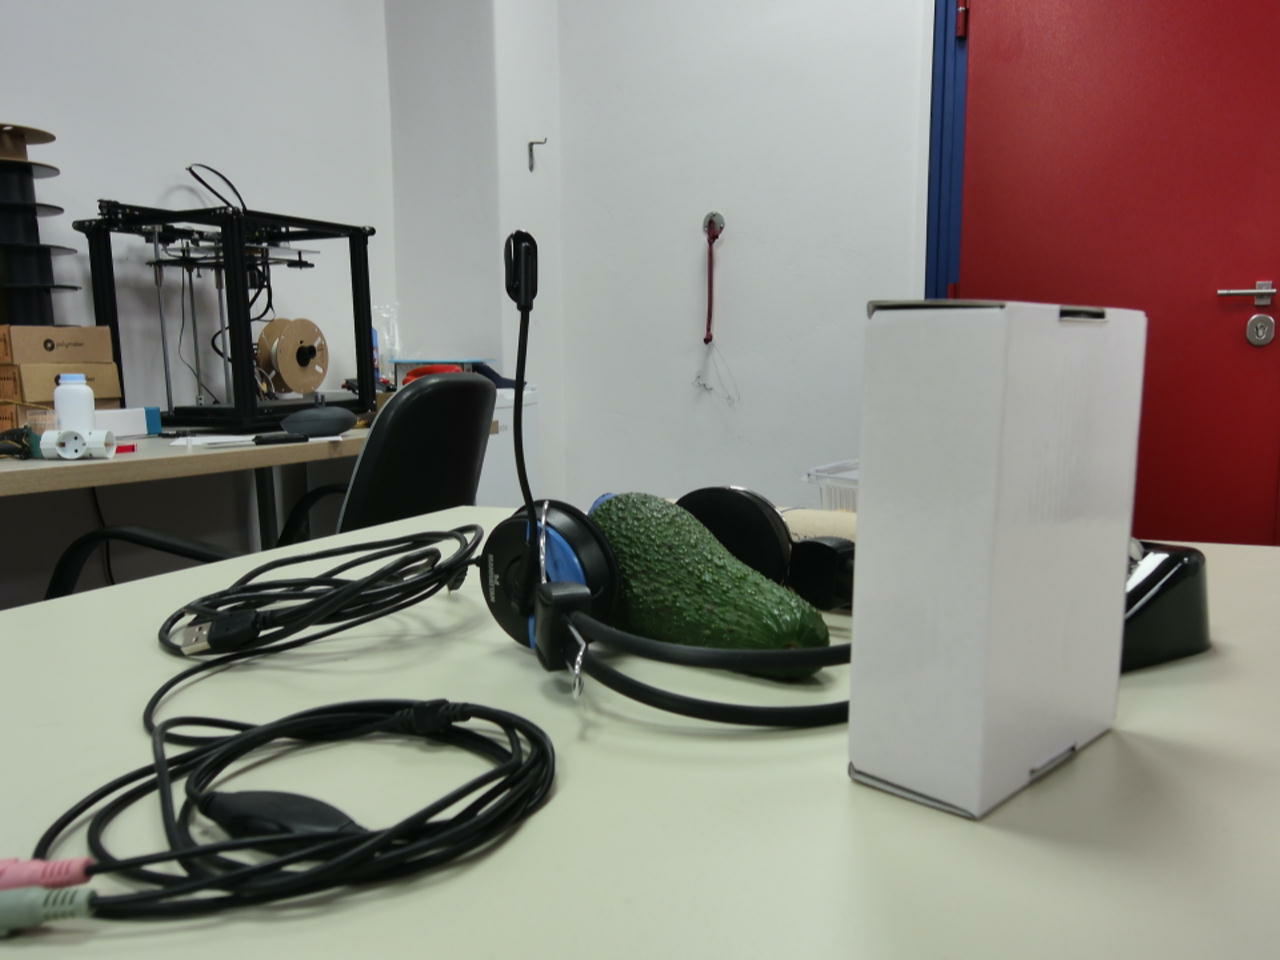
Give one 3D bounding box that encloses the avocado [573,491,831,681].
[{"bbox_3d":[0.027,0.041,0.430,0.141,0.067,0.063,4,4,40],"label":"avocado"}]
